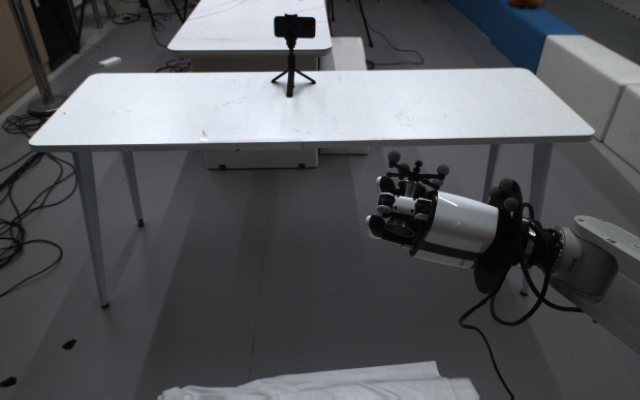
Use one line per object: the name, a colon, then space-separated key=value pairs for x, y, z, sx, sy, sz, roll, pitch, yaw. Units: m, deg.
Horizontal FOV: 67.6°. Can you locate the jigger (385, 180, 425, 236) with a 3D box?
jigger: x=0.121 y=0.011 z=0.673 sx=0.043 sy=0.043 sz=0.071 roll=13 pitch=72 yaw=15
